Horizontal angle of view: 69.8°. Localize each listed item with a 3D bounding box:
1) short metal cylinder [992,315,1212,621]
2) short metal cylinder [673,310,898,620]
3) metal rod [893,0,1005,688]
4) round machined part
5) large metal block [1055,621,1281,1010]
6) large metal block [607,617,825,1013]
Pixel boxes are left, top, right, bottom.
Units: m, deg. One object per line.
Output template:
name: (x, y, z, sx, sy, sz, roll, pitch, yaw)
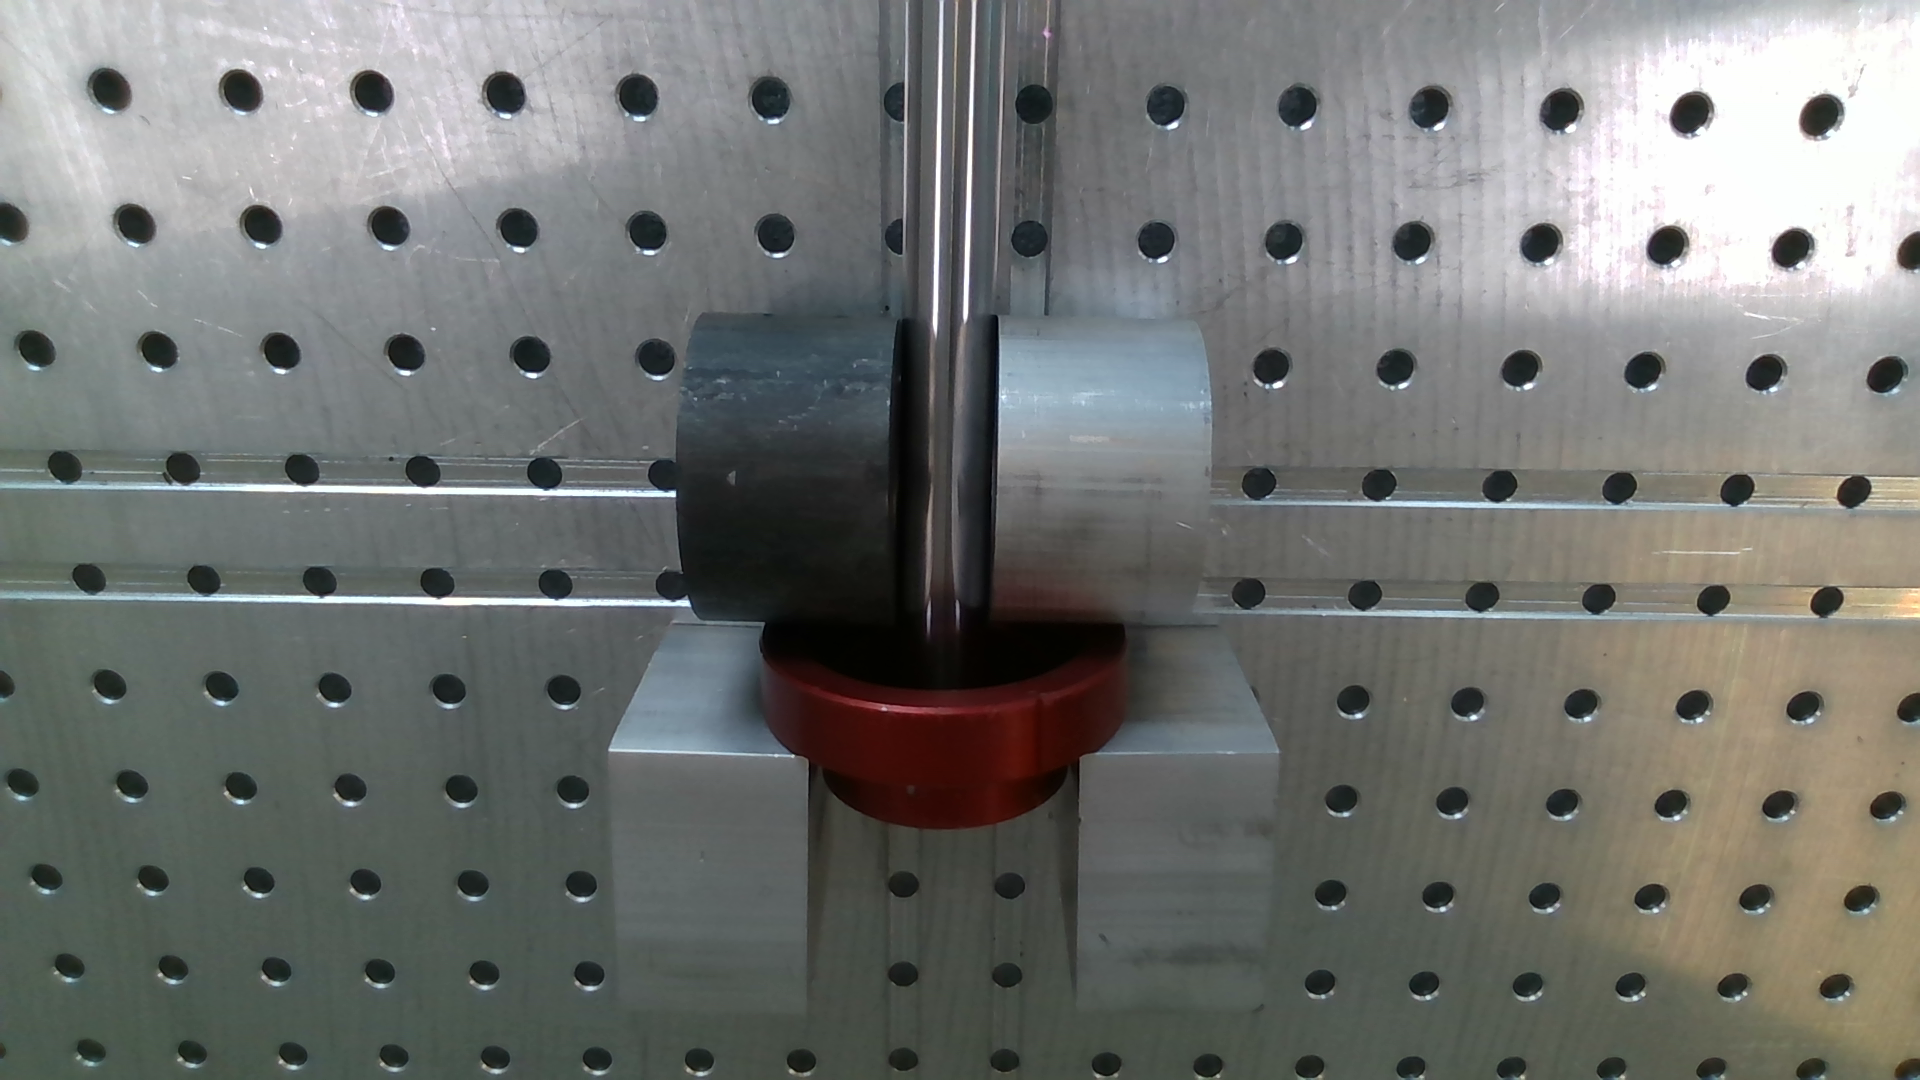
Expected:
short metal cylinder: (0.034, -0.019, 0.360, 0.050, 0.080, 0.080, 1, 110, 0)
short metal cylinder: (-0.042, -0.019, 0.359, 0.050, 0.080, 0.080, 1, 110, 0)
metal rod: (-0.002, -0.101, 0.346, 0.025, 0.025, 0.300, 2, 106, -1)
round machined part: (-0.004, 0.043, 0.373, 0.098, 0.098, 0.042, 1, 110, 0)
large metal block: (0.056, 0.076, 0.395, 0.050, 0.080, 0.080, 0, 110, 0)
large metal block: (-0.065, 0.076, 0.395, 0.050, 0.080, 0.080, 3, 110, -1)
